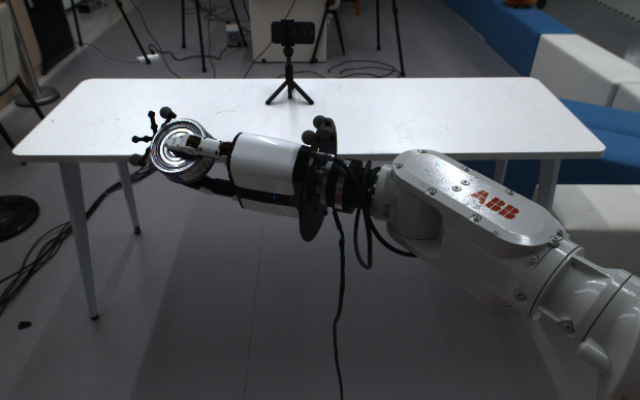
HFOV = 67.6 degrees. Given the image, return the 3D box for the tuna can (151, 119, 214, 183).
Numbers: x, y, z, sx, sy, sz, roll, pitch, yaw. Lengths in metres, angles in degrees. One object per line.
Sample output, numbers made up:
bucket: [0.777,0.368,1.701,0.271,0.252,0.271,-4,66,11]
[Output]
tuna can: [-0.187,-0.068,0.663,0.085,0.034,0.085,-3,71,10]
